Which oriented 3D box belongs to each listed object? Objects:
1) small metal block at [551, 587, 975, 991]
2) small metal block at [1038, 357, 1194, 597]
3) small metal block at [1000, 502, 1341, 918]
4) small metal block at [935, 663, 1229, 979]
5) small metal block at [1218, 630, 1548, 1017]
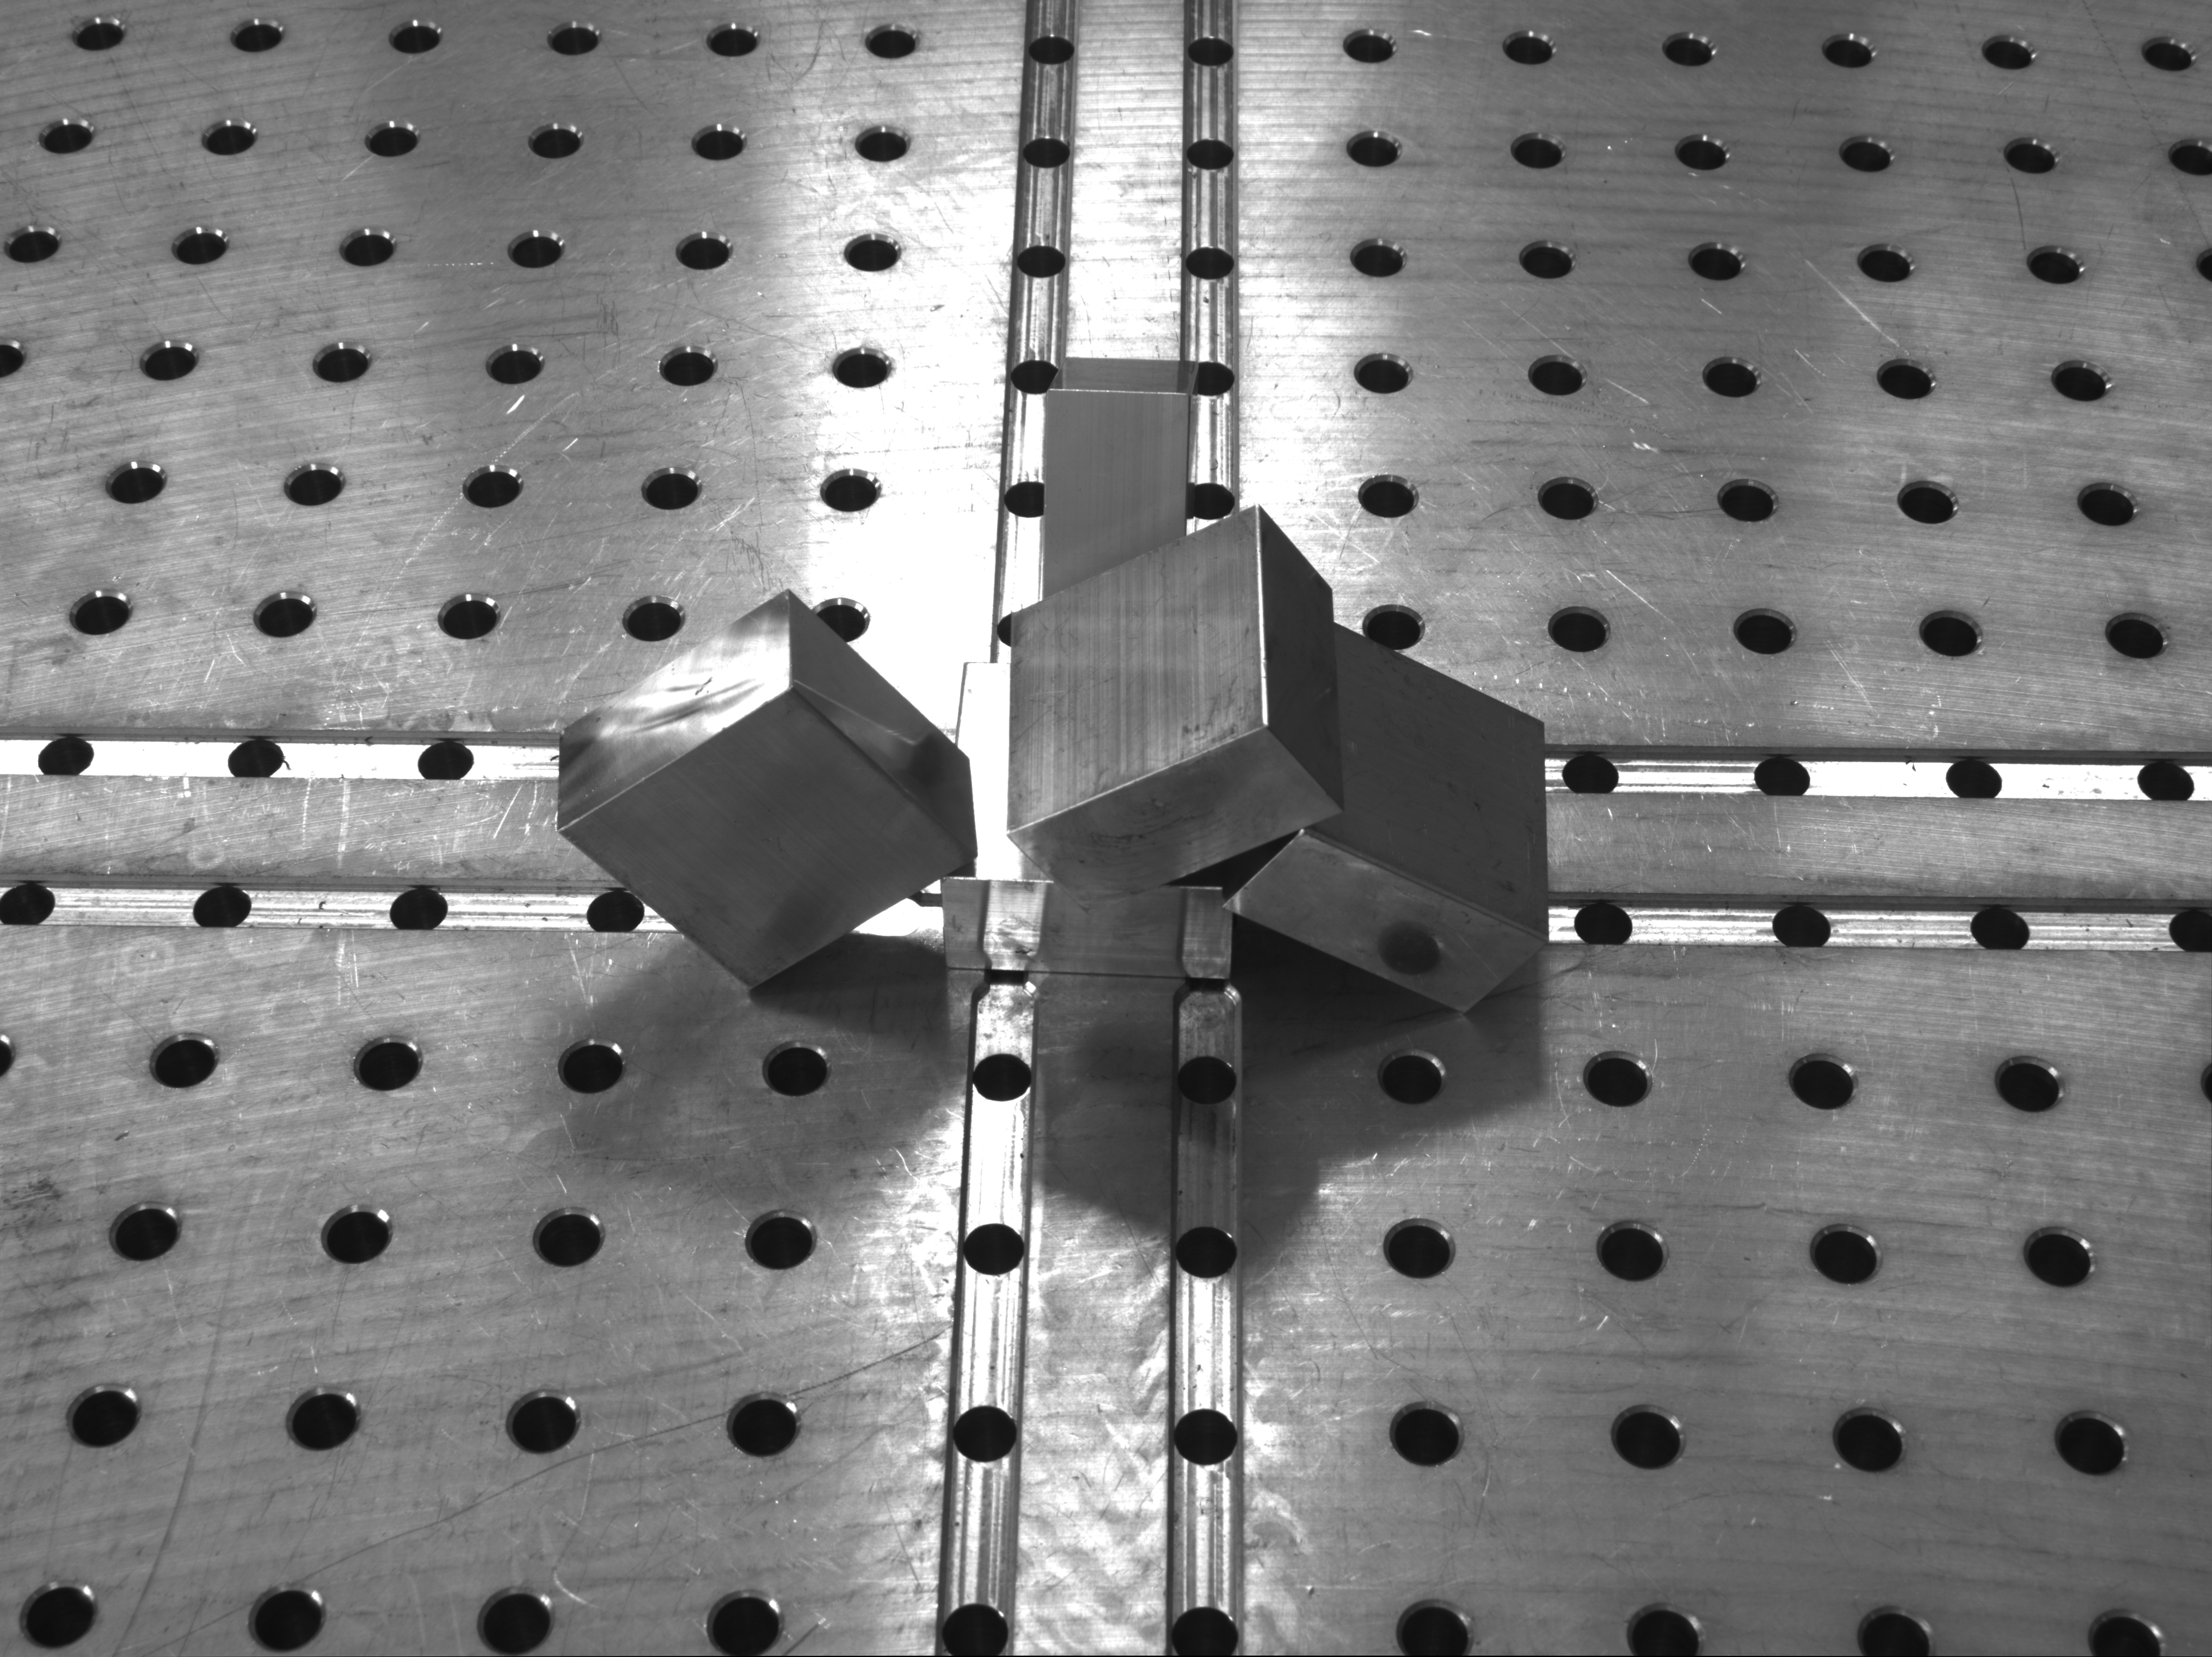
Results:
[{"bbox_3d":[-0.058,-0.006,0.621,0.050,0.050,0.025,-30,40,21],"label":"small metal block"},{"bbox_3d":[0.002,-0.057,0.664,0.025,0.050,0.050,2,14,3],"label":"small metal block"},{"bbox_3d":[0.010,-0.020,0.614,0.050,0.025,0.050,-23,45,24],"label":"small metal block"},{"bbox_3d":[-0.003,-0.002,0.647,0.050,0.025,0.050,2,50,2],"label":"small metal block"},{"bbox_3d":[0.048,-0.002,0.633,0.050,0.025,0.050,23,46,-21],"label":"small metal block"}]
